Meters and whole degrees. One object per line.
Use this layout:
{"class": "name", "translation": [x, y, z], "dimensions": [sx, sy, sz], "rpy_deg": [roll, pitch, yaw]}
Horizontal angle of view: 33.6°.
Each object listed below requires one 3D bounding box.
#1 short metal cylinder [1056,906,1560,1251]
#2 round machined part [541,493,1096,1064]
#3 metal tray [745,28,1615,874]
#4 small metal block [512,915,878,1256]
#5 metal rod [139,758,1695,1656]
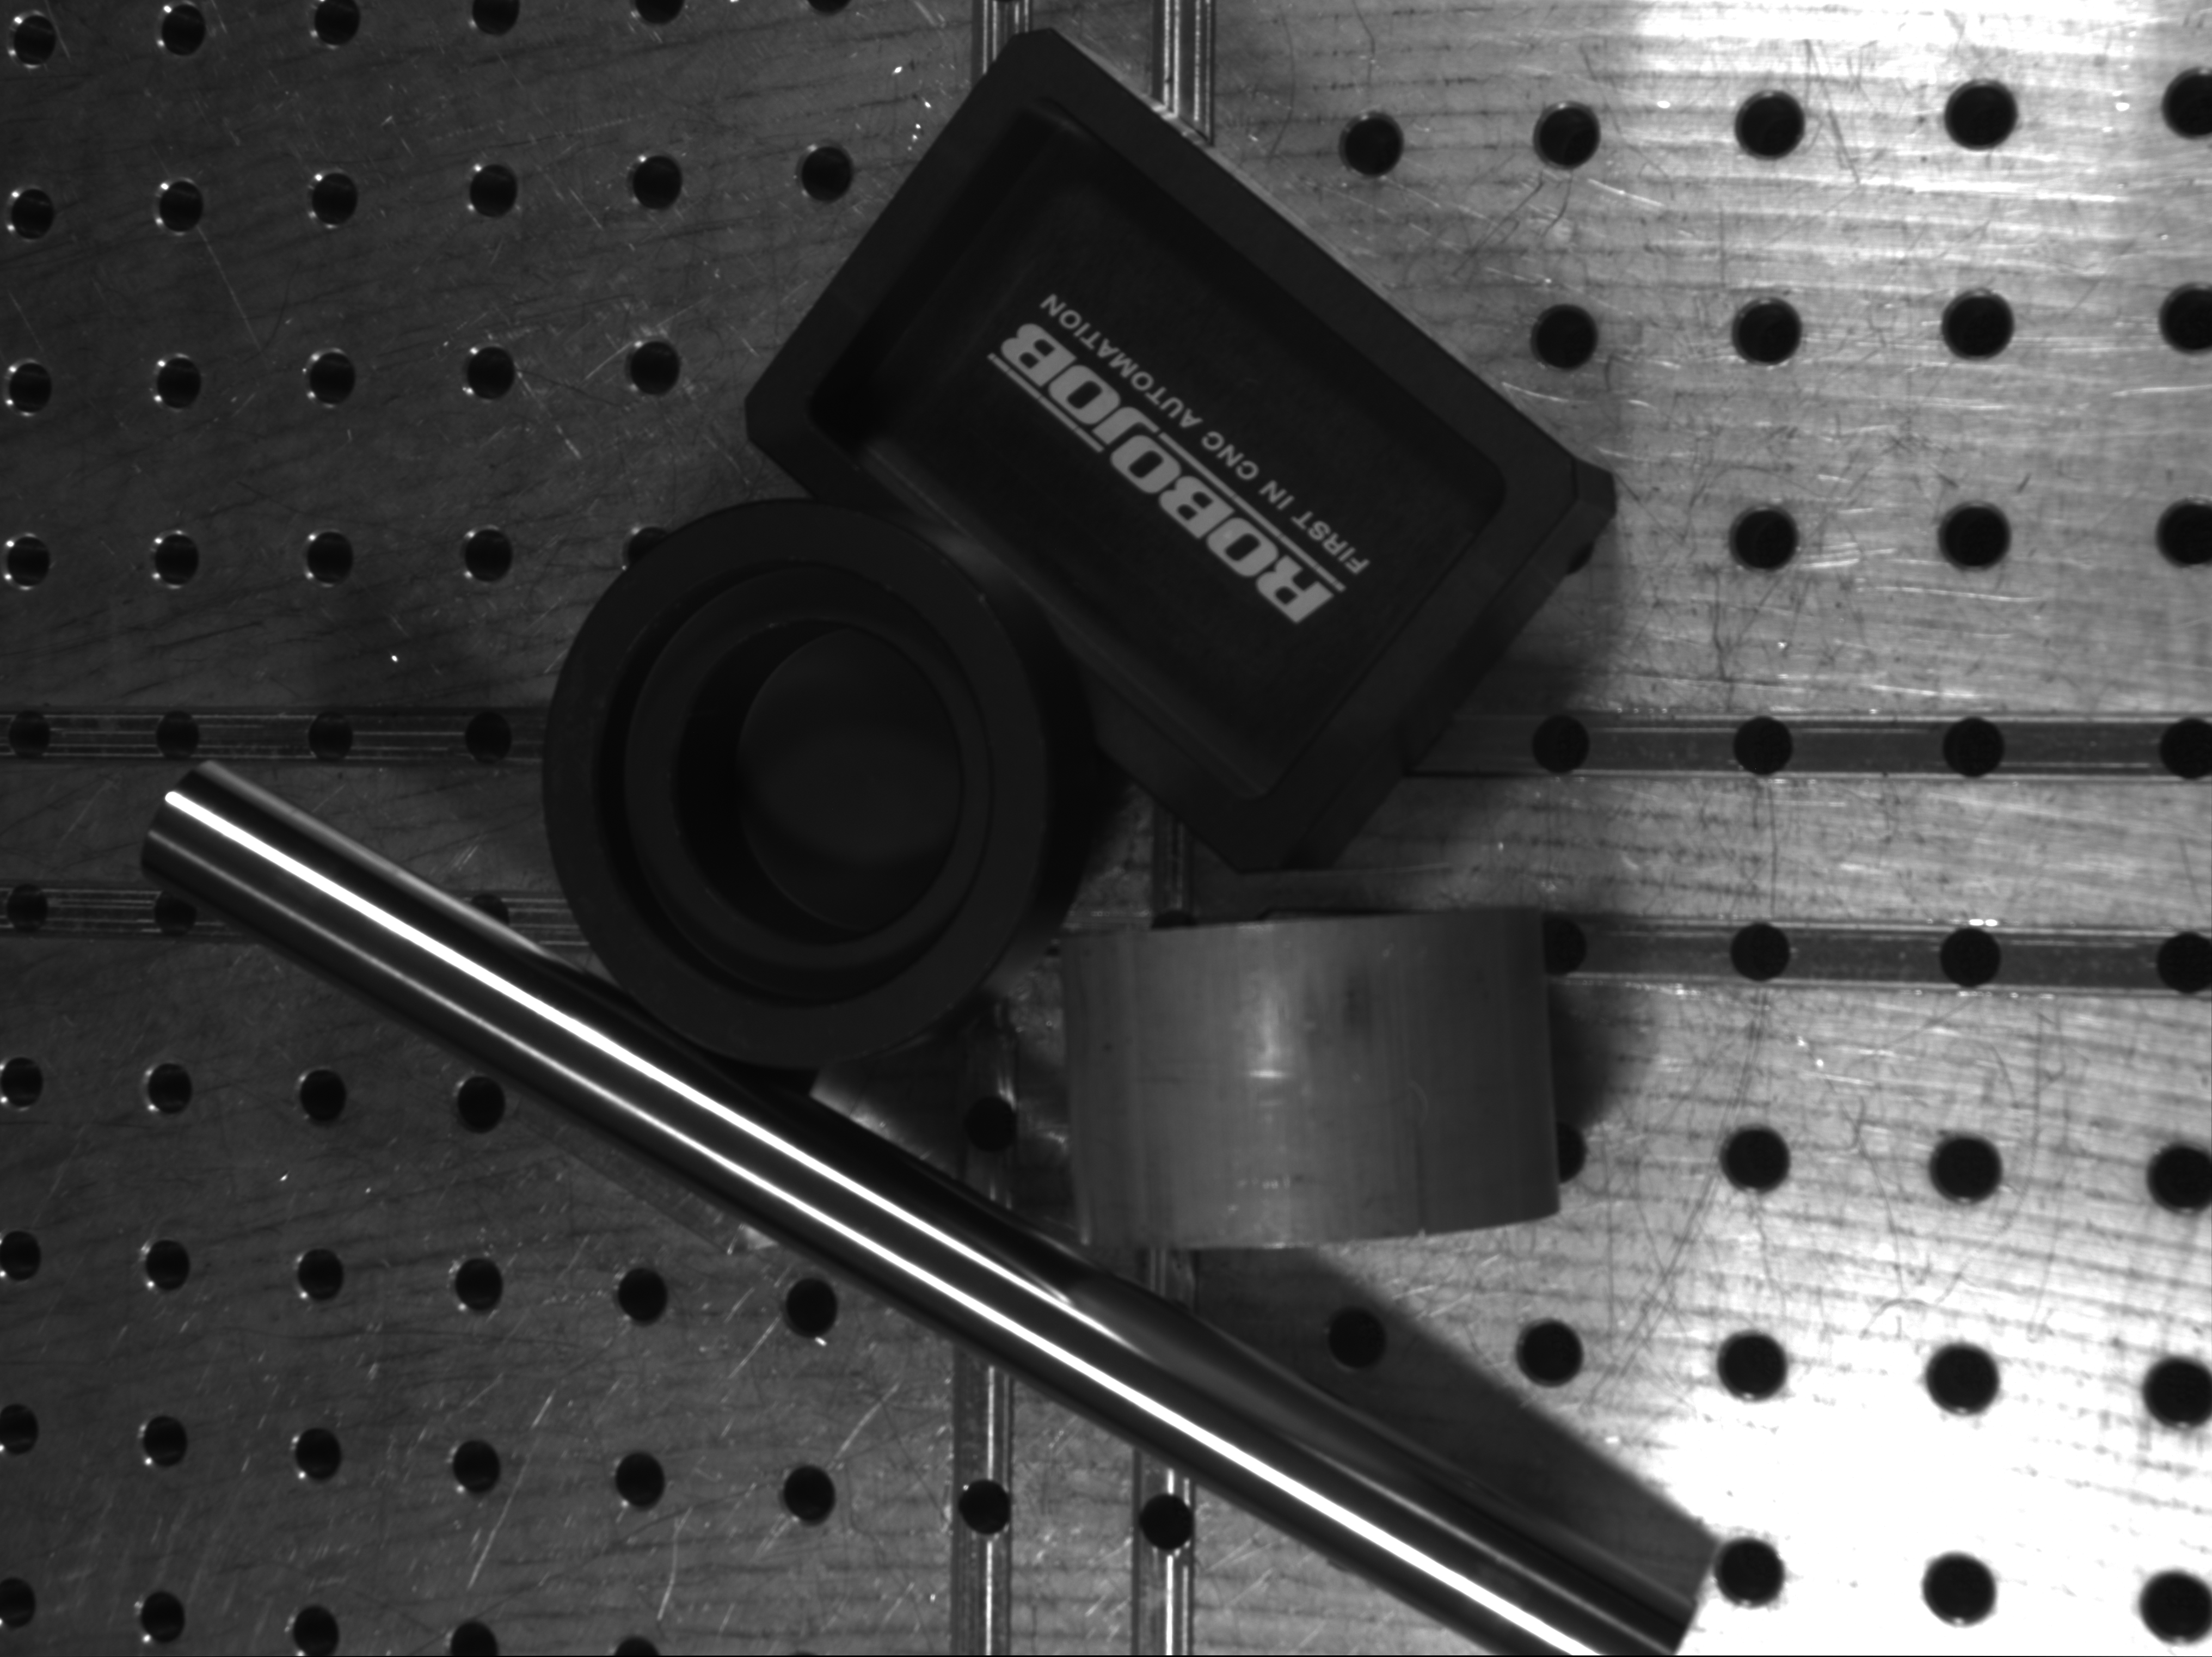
{"class": "short metal cylinder", "translation": [0.033, 0.040, 0.604], "dimensions": [0.080, 0.080, 0.050], "rpy_deg": [-4, 88, 20]}
{"class": "round machined part", "translation": [-0.047, -0.008, 0.646], "dimensions": [0.098, 0.042, 0.098], "rpy_deg": [0, 90, 22]}
{"class": "metal tray", "translation": [0.011, -0.065, 0.639], "dimensions": [0.130, 0.030, 0.090], "rpy_deg": [42, 102, 15]}
{"class": "small metal block", "translation": [-0.073, 0.043, 0.673], "dimensions": [0.050, 0.025, 0.050], "rpy_deg": [30, 99, 17]}
{"class": "metal rod", "translation": [-0.037, 0.070, 0.638], "dimensions": [0.300, 0.025, 0.025], "rpy_deg": [29, 99, 9]}
